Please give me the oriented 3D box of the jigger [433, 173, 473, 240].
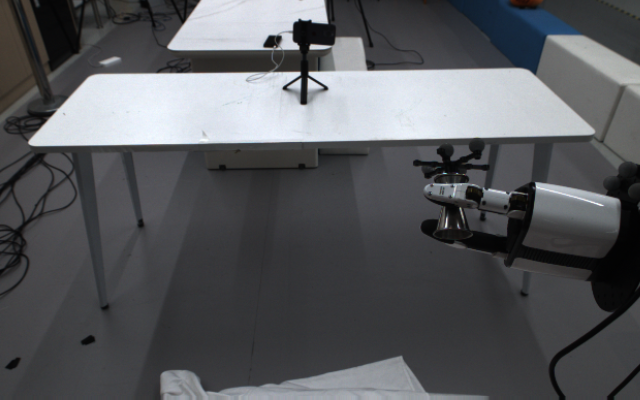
[{"bbox_3d":[0.150,0.006,0.558,0.043,0.043,0.071,4,71,3],"label":"jigger"}]
